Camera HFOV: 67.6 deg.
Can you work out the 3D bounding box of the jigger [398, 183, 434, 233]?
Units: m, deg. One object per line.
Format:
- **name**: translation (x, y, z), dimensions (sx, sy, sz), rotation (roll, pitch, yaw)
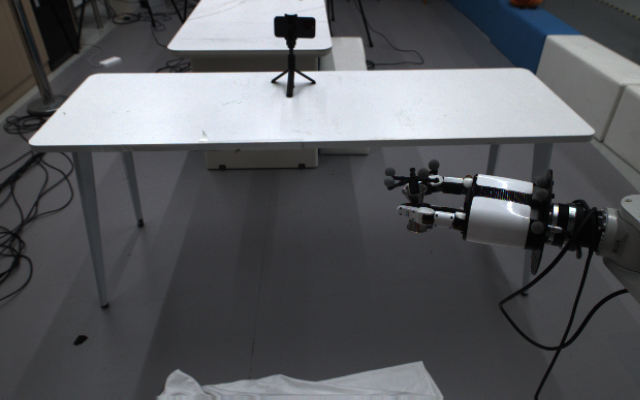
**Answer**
- **jigger**: translation (0.156, 0.012, 0.780), dimensions (0.043, 0.071, 0.043), rotation (-12, 24, 5)
